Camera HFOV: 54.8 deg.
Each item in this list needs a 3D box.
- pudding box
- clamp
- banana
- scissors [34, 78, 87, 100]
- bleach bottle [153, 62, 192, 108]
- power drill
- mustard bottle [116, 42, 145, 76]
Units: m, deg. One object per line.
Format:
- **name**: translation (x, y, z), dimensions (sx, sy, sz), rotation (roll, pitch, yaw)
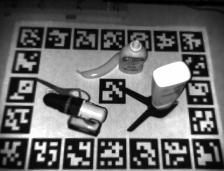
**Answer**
- **pudding box**: translation (-0.176, 0.043, 0.761), dimensions (0.114, 0.090, 0.038), rotation (5, 63, -1)
- **clamp**: translation (0.139, 0.070, 0.779), dimensions (0.203, 0.037, 0.165), rotation (-5, 73, -6)
- **banana**: translation (-0.040, -0.090, 0.836), dimensions (0.198, 0.039, 0.073), rotation (-37, 59, -14)
- **scissors**: translation (-0.184, 0.014, 0.702), dimensions (0.202, 0.016, 0.088), rotation (26, 75, 1)
- **bleach bottle**: translation (0.176, 0.019, 0.687), dimensions (0.102, 0.252, 0.067), rotation (-19, 67, 0)
- **power drill**: translation (-0.117, 0.096, 0.663), dimensions (0.184, 0.188, 0.057), rotation (12, 63, 6)
- **mustard bottle**: translation (0.069, -0.098, 0.774), dimensions (0.096, 0.192, 0.058), rotation (14, 70, 3)
